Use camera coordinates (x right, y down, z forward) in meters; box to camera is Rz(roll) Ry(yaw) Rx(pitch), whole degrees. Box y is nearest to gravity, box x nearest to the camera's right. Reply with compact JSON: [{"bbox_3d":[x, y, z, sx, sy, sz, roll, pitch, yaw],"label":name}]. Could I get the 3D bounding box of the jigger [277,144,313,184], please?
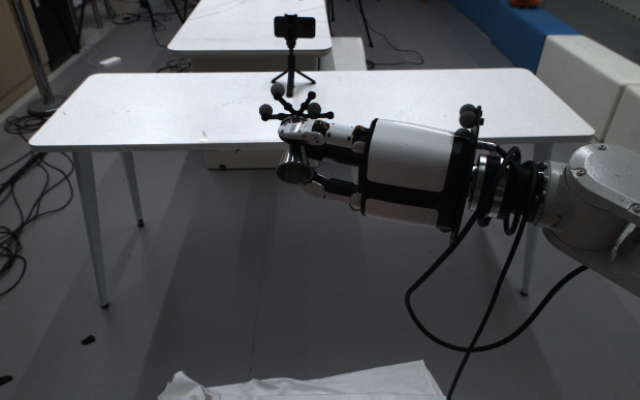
[{"bbox_3d":[-0.028,-0.061,0.561,0.043,0.043,0.071,2,59,-1],"label":"jigger"}]
